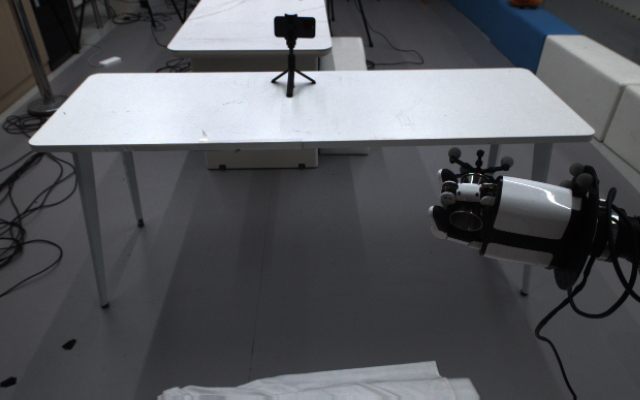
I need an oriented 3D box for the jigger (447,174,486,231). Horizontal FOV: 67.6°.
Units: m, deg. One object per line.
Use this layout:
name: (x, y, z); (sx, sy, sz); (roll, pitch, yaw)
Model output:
jigger: (0.205, 0.001, 0.649); (0.043, 0.043, 0.071); (13, 58, 15)
